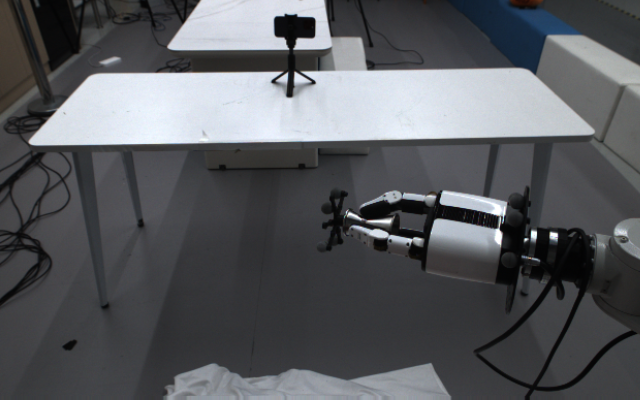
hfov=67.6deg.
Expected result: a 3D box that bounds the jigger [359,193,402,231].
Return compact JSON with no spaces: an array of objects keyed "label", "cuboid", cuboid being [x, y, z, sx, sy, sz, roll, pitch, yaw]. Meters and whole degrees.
[{"label":"jigger","cuboid":[0.075,0.032,0.655,0.071,0.043,0.043,8,34,23]}]
